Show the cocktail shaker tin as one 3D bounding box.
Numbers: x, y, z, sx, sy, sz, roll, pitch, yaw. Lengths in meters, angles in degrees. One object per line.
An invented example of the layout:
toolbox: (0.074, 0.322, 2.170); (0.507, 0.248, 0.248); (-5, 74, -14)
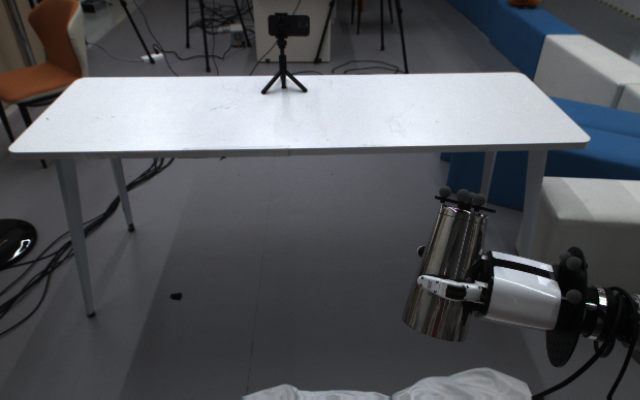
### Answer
cocktail shaker tin: (0.180, 0.096, 0.673); (0.093, 0.170, 0.093); (13, 5, -1)
